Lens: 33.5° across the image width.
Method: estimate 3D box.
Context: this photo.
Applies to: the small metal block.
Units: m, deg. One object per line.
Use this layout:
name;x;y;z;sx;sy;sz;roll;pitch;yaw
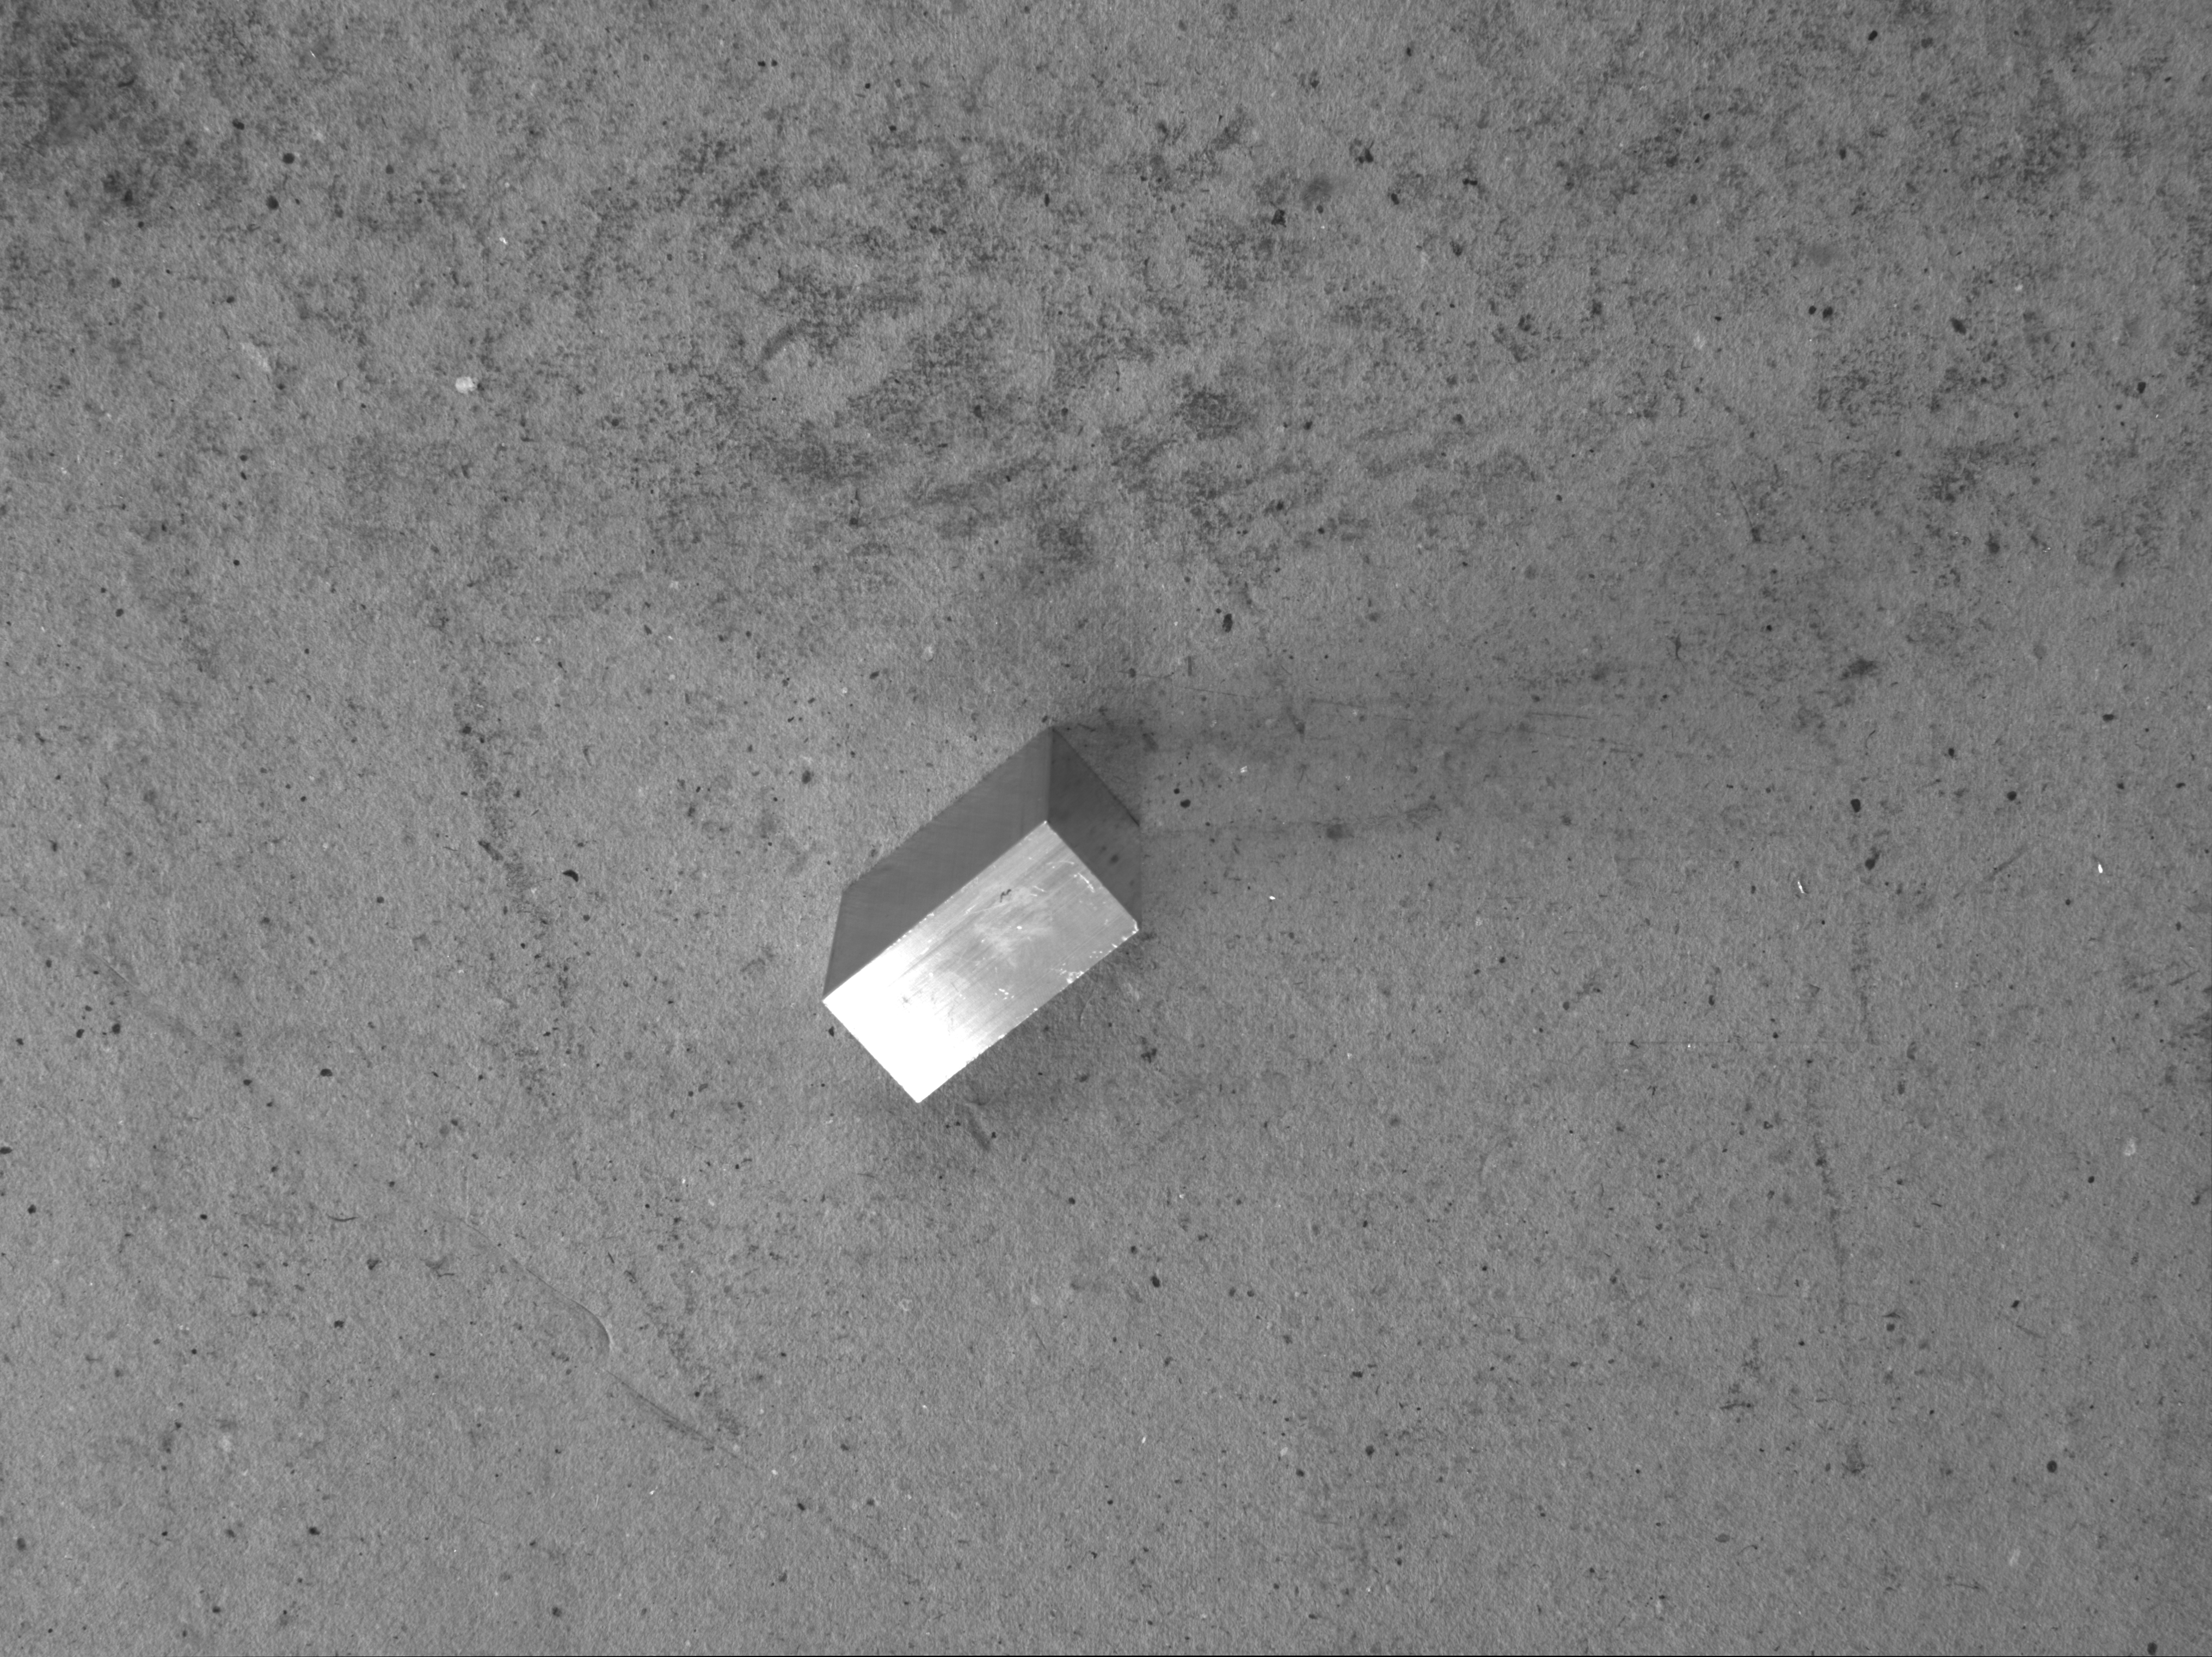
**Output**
small metal block;-0.021;0.014;0.636;0.050;0.050;0.025;-38;106;13
